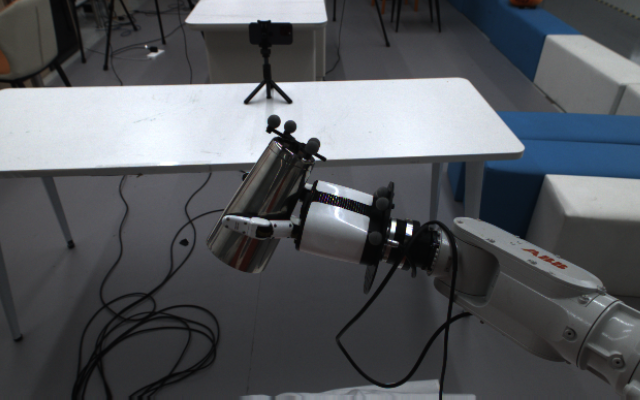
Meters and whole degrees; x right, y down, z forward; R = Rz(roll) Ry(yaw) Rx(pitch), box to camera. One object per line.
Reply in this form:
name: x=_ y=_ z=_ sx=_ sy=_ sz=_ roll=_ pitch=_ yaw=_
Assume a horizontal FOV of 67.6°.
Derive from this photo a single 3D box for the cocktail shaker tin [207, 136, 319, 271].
cocktail shaker tin: x=-0.075 y=0.000 z=0.658 sx=0.093 sy=0.170 sz=0.093 roll=28 pitch=14 yaw=-8
